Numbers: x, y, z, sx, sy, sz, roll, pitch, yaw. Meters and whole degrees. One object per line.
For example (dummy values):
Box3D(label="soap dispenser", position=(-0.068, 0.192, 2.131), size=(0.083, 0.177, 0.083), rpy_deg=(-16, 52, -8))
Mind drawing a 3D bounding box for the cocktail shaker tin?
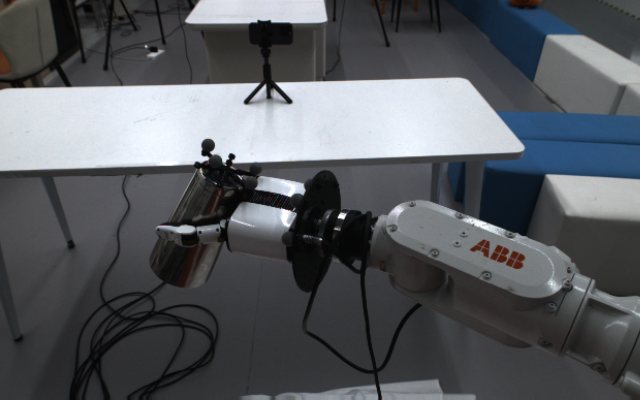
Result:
Box3D(label="cocktail shaker tin", position=(-0.166, 0.028, 0.678), size=(0.093, 0.170, 0.093), rpy_deg=(25, 30, -15))
